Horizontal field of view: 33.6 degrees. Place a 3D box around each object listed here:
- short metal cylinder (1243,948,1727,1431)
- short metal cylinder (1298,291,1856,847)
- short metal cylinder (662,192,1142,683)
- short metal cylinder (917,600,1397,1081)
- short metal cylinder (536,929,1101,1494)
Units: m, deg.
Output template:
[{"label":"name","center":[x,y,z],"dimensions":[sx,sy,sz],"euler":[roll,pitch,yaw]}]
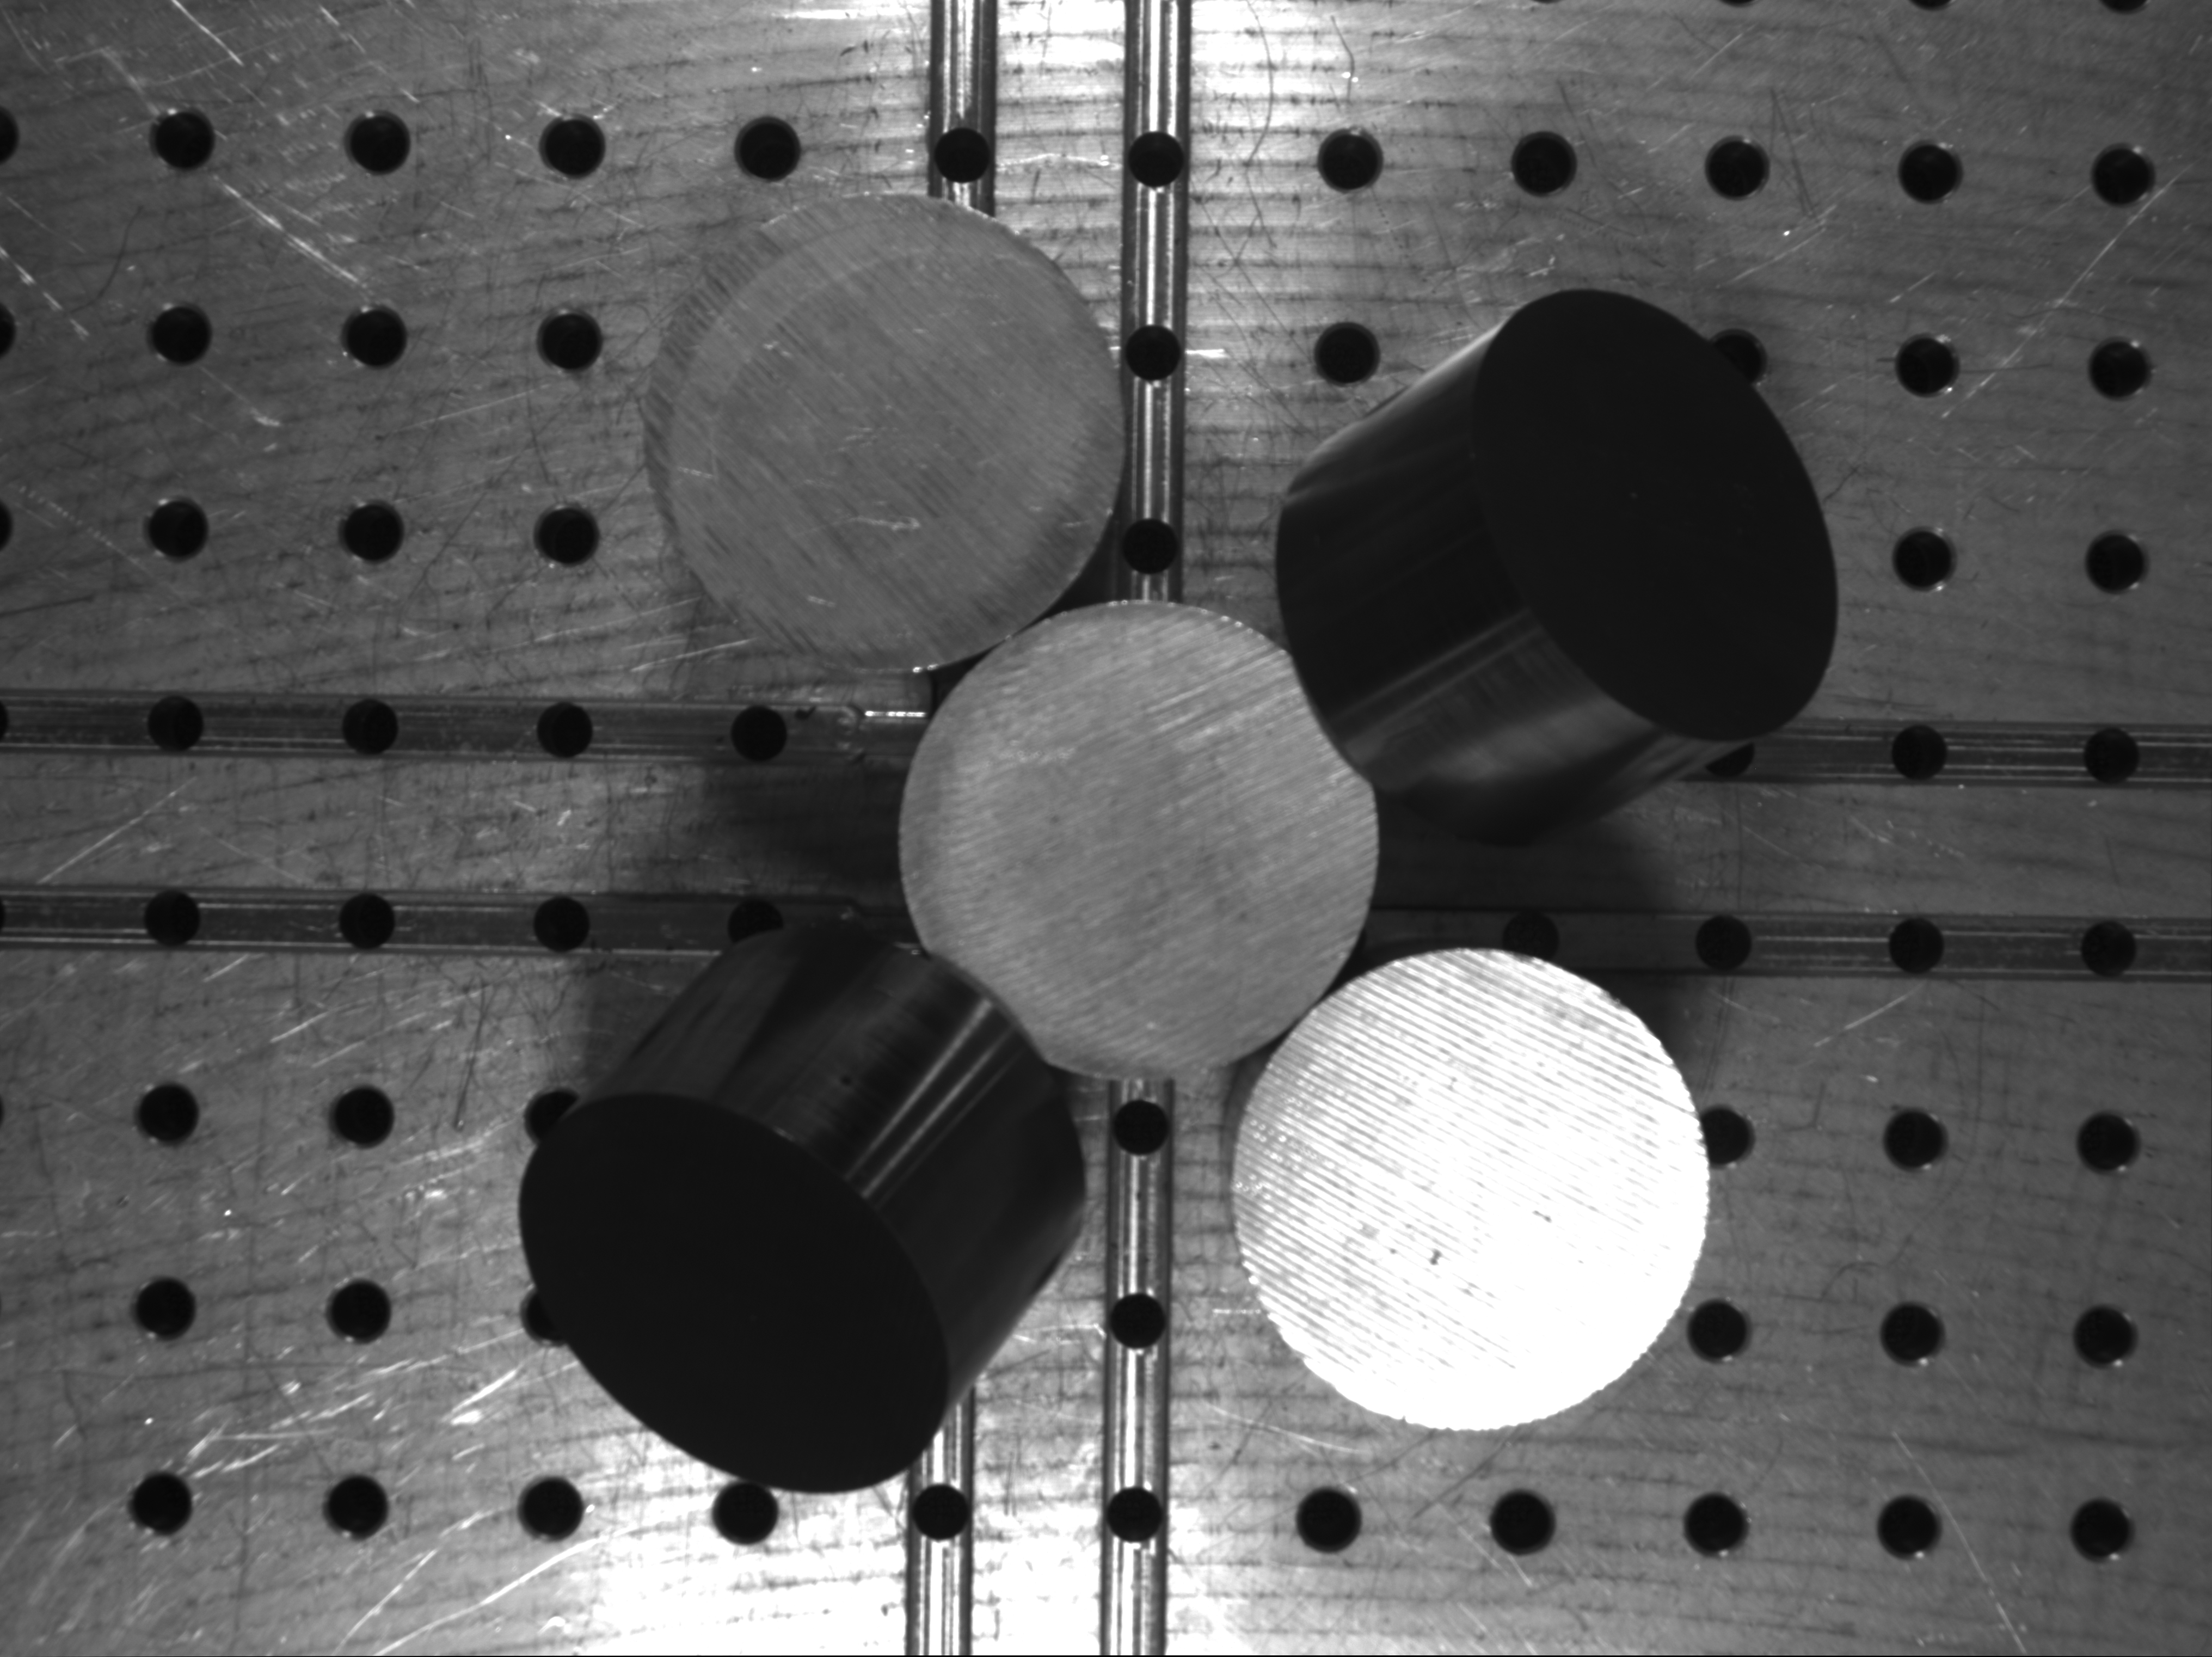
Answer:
[{"label":"short metal cylinder","center":[0.063,0.061,0.635],"dimensions":[0.080,0.050,0.080],"euler":[0,90,0]},{"label":"short metal cylinder","center":[0.079,-0.043,0.615],"dimensions":[0.080,0.050,0.080],"euler":[16,61,-31]},{"label":"short metal cylinder","center":[-0.034,-0.066,0.635],"dimensions":[0.080,0.050,0.080],"euler":[0,90,0]},{"label":"short metal cylinder","center":[0.008,0.002,0.635],"dimensions":[0.080,0.050,0.080],"euler":[0,90,0]},{"label":"short metal cylinder","center":[-0.048,0.064,0.614],"dimensions":[0.080,0.050,0.080],"euler":[15,127,21]}]
